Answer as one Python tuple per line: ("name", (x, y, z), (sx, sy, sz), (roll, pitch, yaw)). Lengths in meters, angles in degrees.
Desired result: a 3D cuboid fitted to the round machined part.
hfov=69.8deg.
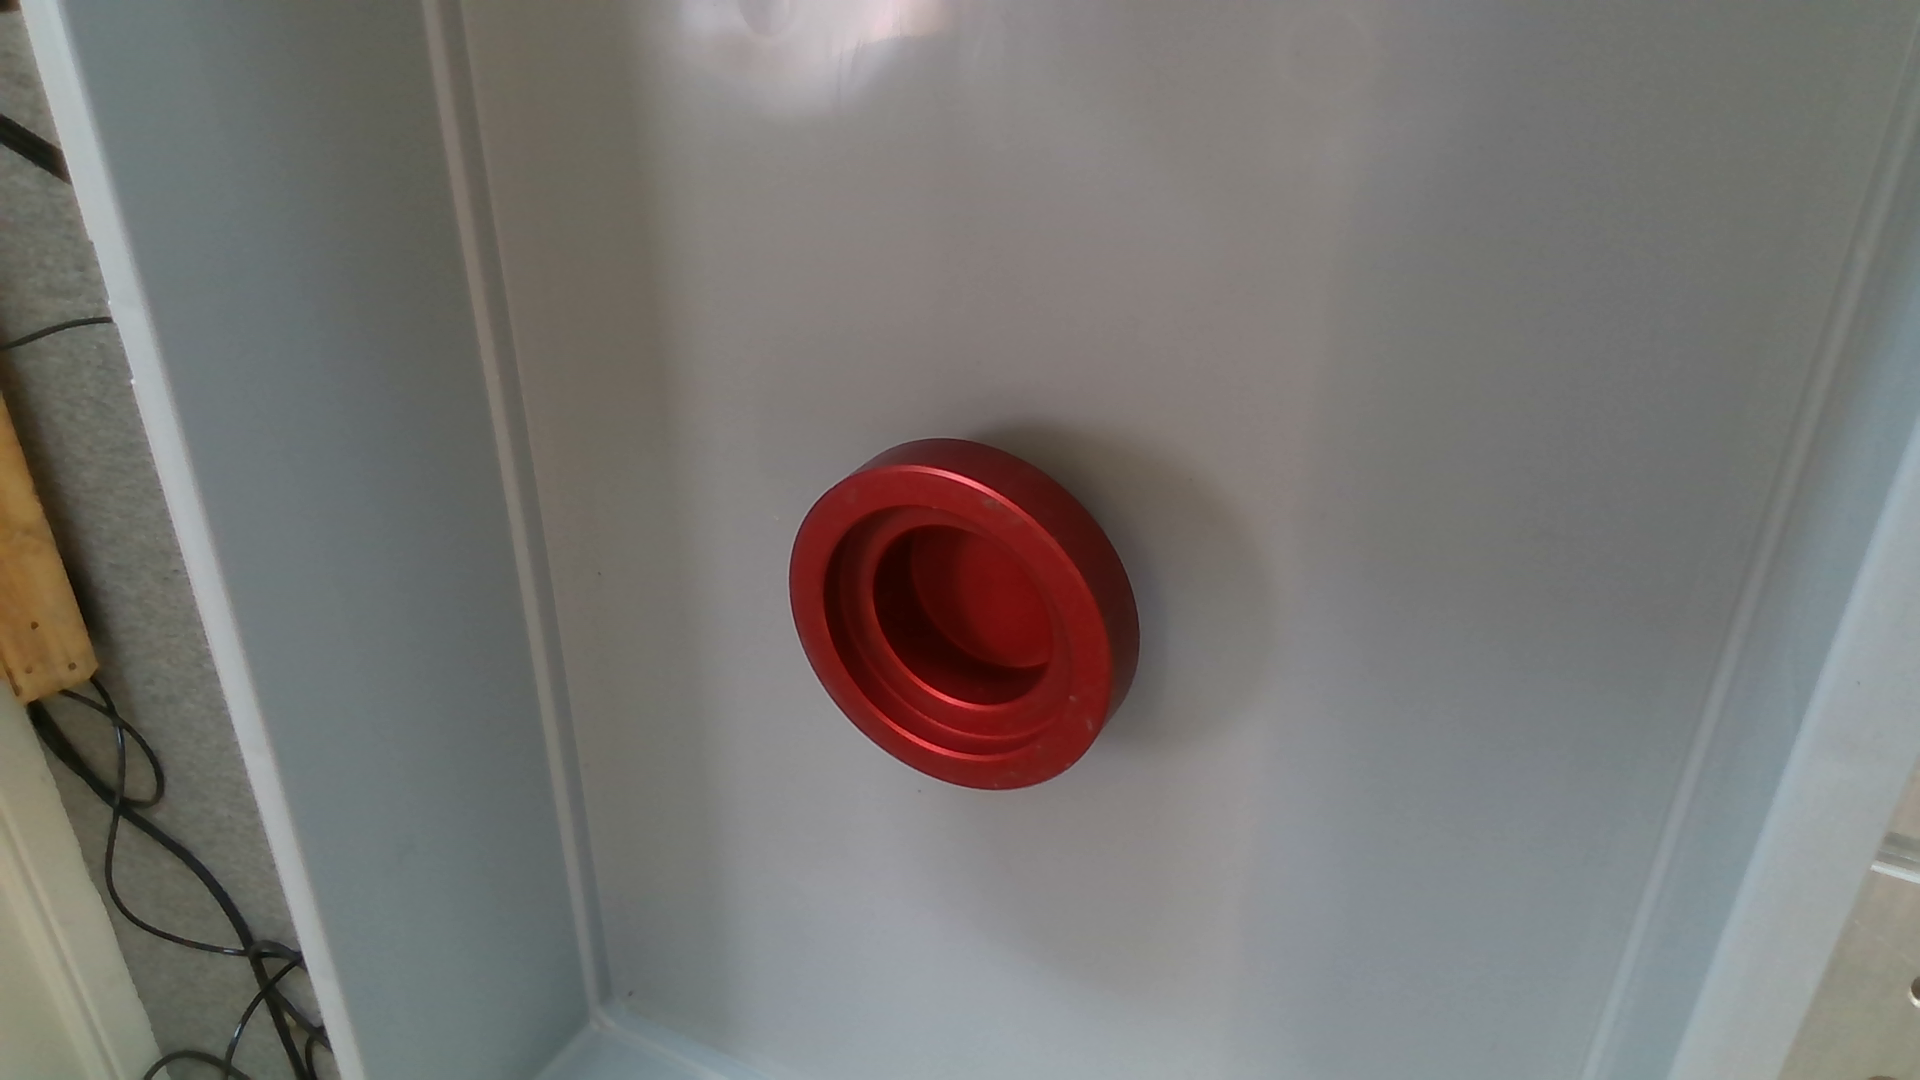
("round machined part", (0.004, 0.017, 0.381), (0.098, 0.042, 0.098), (14, 122, 25))
